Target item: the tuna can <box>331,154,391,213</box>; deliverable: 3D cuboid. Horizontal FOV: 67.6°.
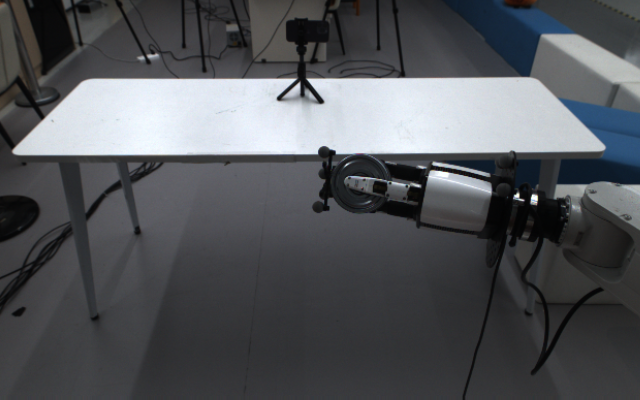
[{"bbox_3d":[0.061,-0.021,0.684,0.085,0.085,0.034,10,2,11],"label":"tuna can"}]
